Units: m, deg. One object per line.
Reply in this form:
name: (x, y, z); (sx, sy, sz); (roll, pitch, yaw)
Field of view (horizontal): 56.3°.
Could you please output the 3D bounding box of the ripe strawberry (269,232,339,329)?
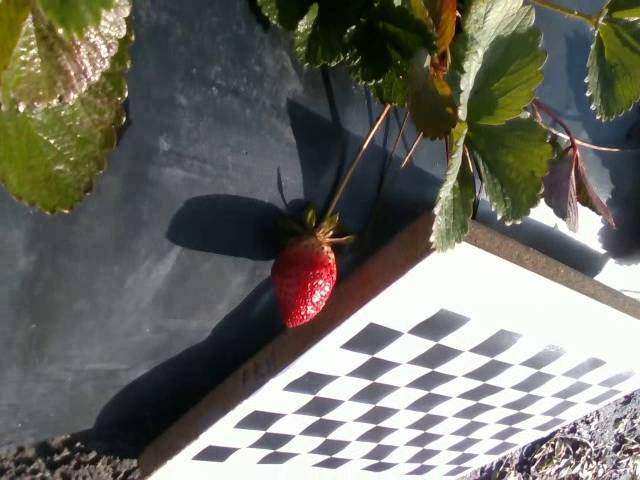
ripe strawberry: (-0.007, 0.017, 0.219); (0.034, 0.037, 0.033); (19, -10, -35)
